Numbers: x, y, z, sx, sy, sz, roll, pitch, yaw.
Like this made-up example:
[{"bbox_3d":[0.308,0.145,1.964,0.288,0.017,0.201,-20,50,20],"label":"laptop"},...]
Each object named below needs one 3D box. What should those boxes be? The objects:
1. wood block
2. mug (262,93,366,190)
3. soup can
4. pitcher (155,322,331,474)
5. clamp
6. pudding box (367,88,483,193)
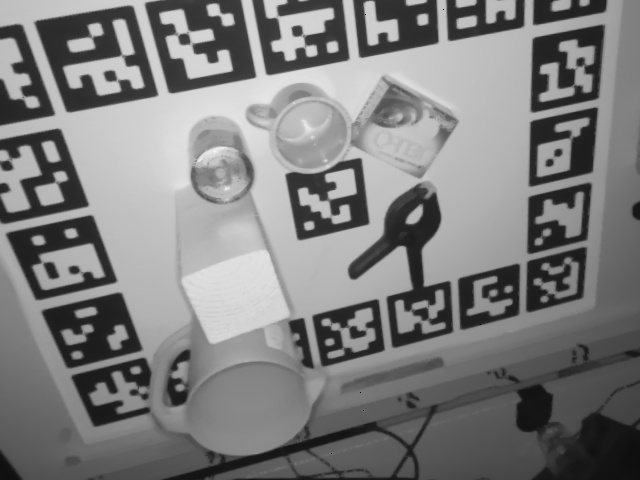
[{"bbox_3d":[-0.093,0.027,0.768,0.090,0.207,0.090,-13,121,-1],"label":"wood block"},{"bbox_3d":[-0.012,-0.120,0.782,0.118,0.081,0.092,21,114,-24],"label":"mug"},{"bbox_3d":[-0.098,-0.078,0.770,0.068,0.102,0.067,-5,117,-10],"label":"soup can"},{"bbox_3d":[-0.098,0.142,0.813,0.190,0.242,0.132,-14,123,-9],"label":"pitcher"},{"bbox_3d":[0.127,0.018,0.927,0.123,0.037,0.163,17,113,-14],"label":"clamp"},{"bbox_3d":[0.128,-0.121,0.845,0.115,0.038,0.089,23,108,-24],"label":"pudding box"}]
